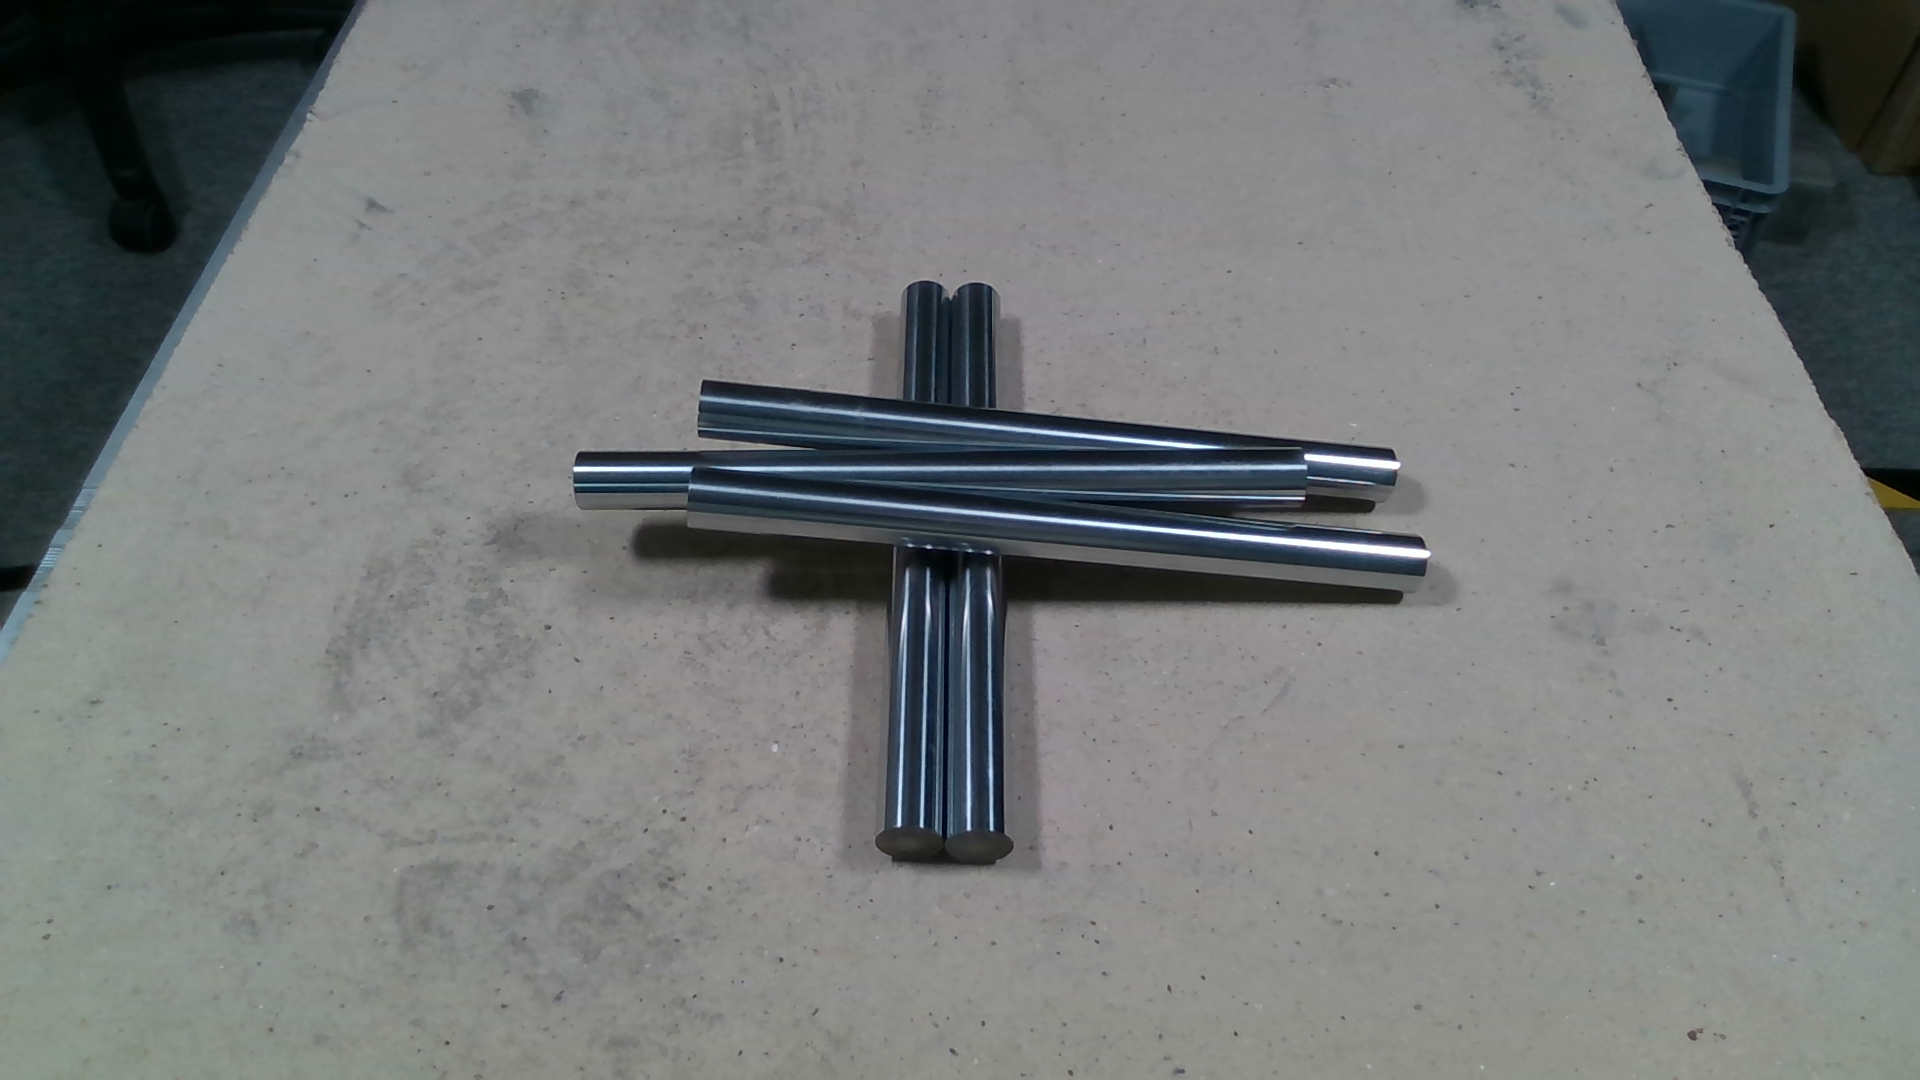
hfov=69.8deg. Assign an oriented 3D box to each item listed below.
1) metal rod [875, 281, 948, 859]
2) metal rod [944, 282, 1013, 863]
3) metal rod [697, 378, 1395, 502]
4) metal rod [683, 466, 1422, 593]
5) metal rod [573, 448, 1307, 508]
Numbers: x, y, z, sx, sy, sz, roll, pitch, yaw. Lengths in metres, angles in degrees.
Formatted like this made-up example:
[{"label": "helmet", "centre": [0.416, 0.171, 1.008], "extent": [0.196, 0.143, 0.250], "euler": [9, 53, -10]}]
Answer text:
[{"label": "metal rod", "centre": [-0.018, -0.005, 0.593], "extent": [0.025, 0.025, 0.299], "euler": [0, 50, 0]}, {"label": "metal rod", "centre": [0.007, -0.004, 0.592], "extent": [0.025, 0.025, 0.299], "euler": [0, 50, 0]}, {"label": "metal rod", "centre": [0.039, -0.042, 0.595], "extent": [0.300, 0.025, 0.025], "euler": [5, 50, -6]}, {"label": "metal rod", "centre": [0.040, -0.004, 0.562], "extent": [0.300, 0.025, 0.025], "euler": [5, 50, -6]}, {"label": "metal rod", "centre": [-0.008, -0.026, 0.575], "extent": [0.300, 0.025, 0.025], "euler": [0, 50, 0]}]
